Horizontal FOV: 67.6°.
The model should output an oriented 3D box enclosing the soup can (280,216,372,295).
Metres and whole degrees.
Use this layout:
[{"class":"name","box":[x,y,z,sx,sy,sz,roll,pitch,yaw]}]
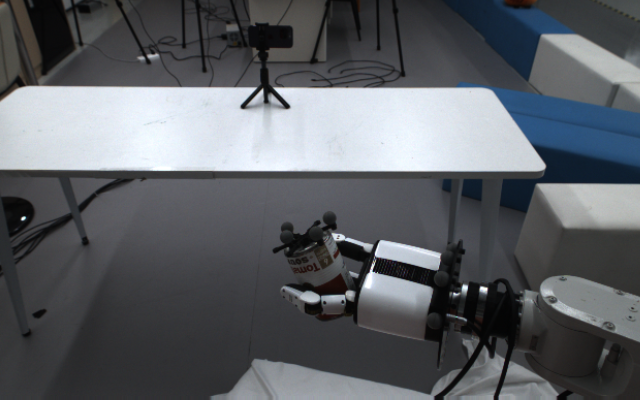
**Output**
[{"class":"soup can","box":[0.005,0.096,0.633,0.067,0.101,0.067,-23,16,7]}]
